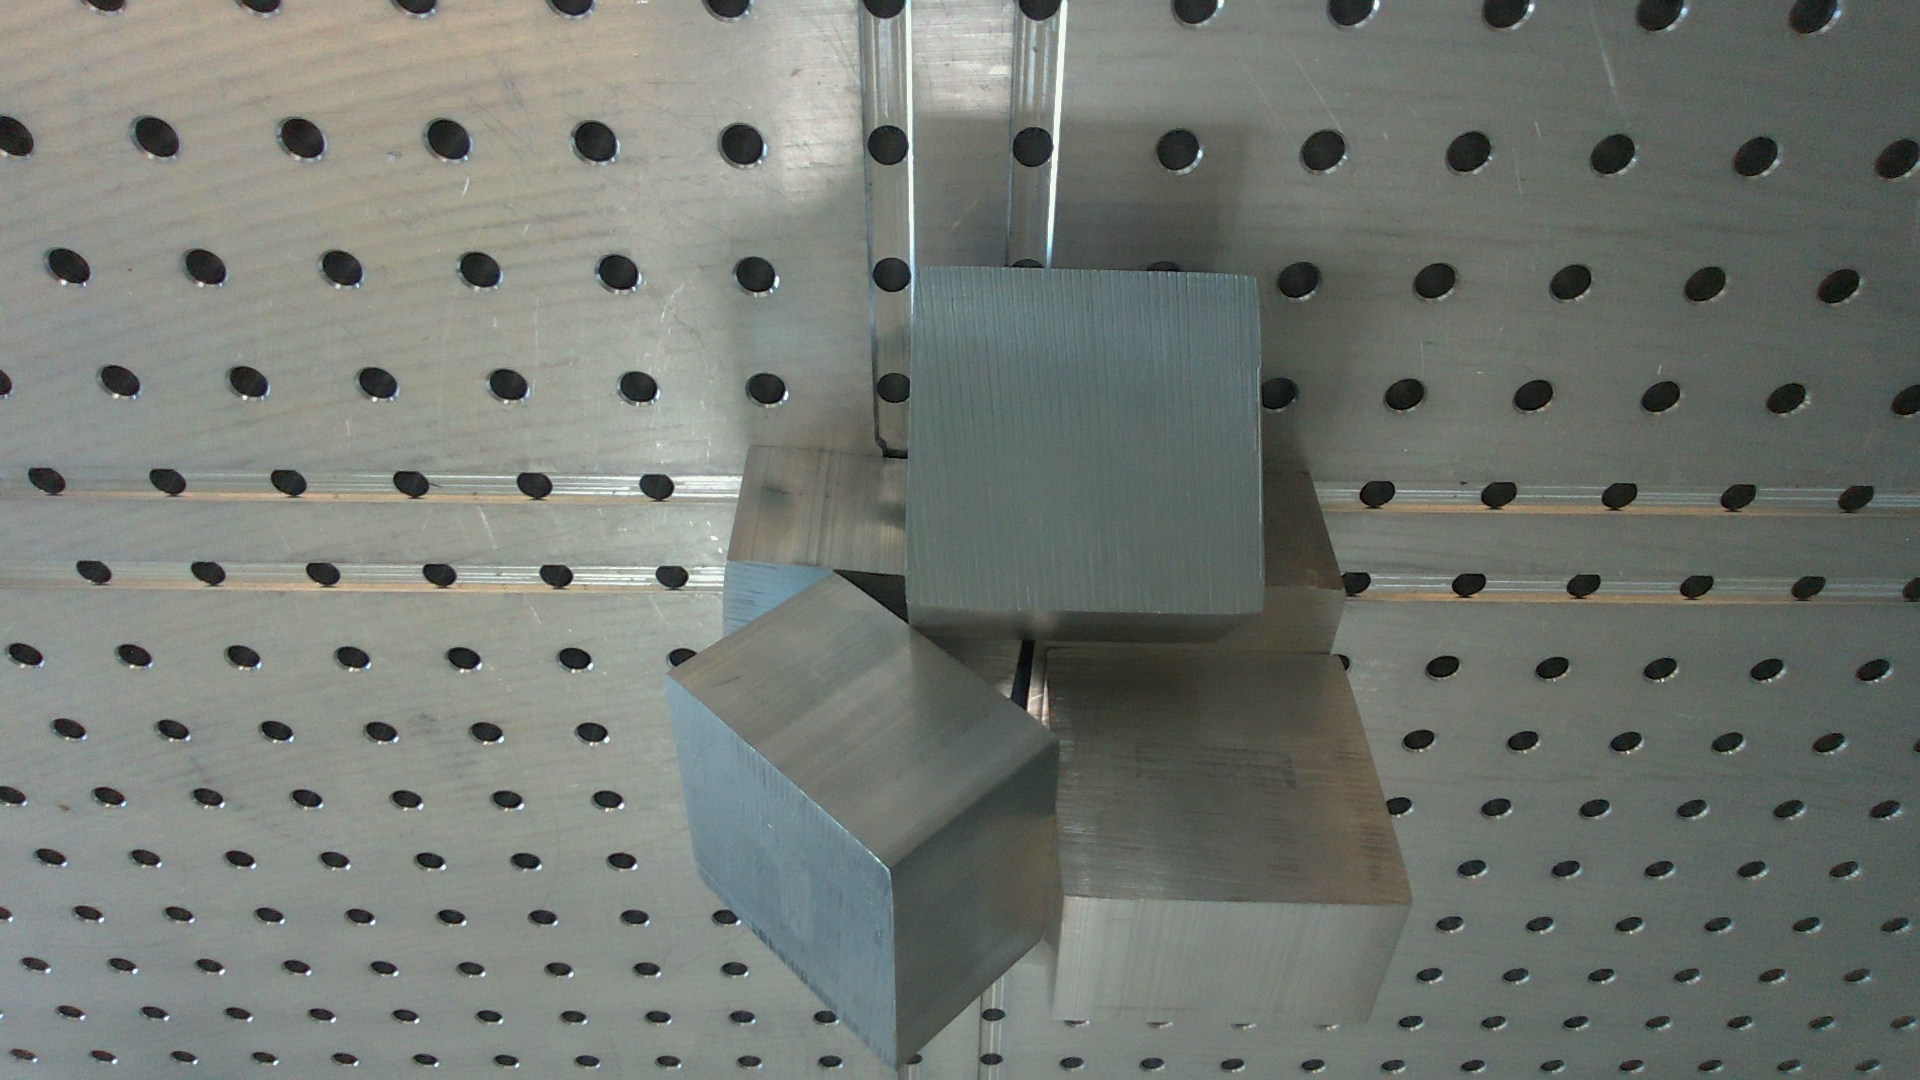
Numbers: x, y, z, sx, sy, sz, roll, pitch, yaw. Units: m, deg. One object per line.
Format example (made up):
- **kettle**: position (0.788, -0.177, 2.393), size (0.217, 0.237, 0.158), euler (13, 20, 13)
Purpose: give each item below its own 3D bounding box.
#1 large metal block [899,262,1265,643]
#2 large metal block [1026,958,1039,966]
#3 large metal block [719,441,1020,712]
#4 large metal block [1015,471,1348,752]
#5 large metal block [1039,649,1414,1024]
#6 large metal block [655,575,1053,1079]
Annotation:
- **large metal block**: position (0.027, -0.019, 0.332), size (0.080, 0.080, 0.050), euler (2, 168, -1)
- **large metal block**: position (0.019, 0.101, 0.435), size (0.080, 0.050, 0.080), euler (2, 175, -1)
- **large metal block**: position (-0.026, 0.022, 0.396), size (0.080, 0.050, 0.080), euler (5, 130, -4)
- **large metal block**: position (0.059, 0.026, 0.399), size (0.080, 0.050, 0.080), euler (2, 130, -2)
- **large metal block**: position (0.062, 0.075, 0.356), size (0.080, 0.080, 0.050), euler (1, 130, -1)
- **large metal block**: position (-0.026, 0.069, 0.340), size (0.080, 0.050, 0.080), euler (33, 140, 32)
